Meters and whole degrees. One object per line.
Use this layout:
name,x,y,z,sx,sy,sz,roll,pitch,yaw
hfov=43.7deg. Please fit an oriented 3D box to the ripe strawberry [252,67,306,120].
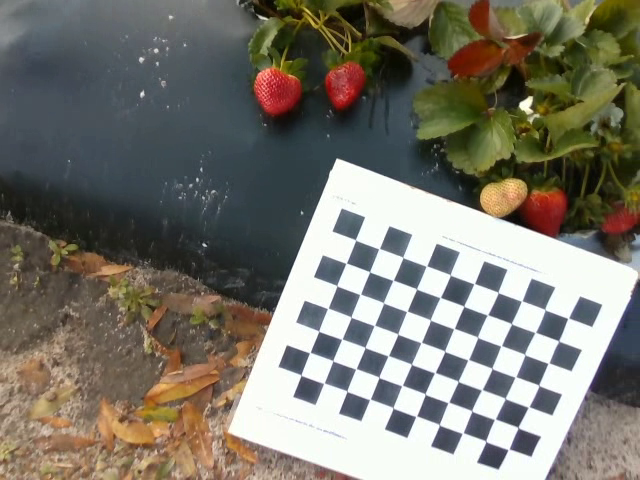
ripe strawberry,-0.042,-0.145,0.774,0.050,0.061,0.045,10,-37,3

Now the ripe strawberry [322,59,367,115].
ripe strawberry,0.023,-0.156,0.782,0.042,0.053,0.034,5,-33,3
